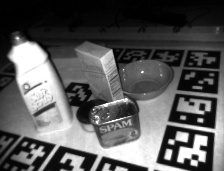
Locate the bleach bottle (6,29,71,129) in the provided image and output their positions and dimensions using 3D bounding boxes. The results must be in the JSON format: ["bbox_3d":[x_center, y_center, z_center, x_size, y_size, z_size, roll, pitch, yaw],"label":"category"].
[{"bbox_3d":[-0.178,-0.008,0.505,0.102,0.253,0.067,-12,38,4],"label":"bleach bottle"}]

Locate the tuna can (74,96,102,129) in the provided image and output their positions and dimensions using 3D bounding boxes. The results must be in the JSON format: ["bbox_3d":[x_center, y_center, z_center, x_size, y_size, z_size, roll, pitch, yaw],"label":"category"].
[{"bbox_3d":[-0.058,0.067,0.549,0.085,0.034,0.085,-9,41,9],"label":"tuna can"}]

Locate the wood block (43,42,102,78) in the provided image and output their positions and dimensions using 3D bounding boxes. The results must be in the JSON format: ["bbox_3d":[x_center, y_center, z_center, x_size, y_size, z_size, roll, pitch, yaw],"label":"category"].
[{"bbox_3d":[-0.132,-0.087,0.723,0.205,0.090,0.091,0,45,15],"label":"wood block"}]

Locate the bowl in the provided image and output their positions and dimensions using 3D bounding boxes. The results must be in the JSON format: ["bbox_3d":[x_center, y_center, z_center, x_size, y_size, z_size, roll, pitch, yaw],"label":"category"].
[{"bbox_3d":[0.088,-0.020,0.601,0.161,0.056,0.161,-11,37,9],"label":"bowl"}]

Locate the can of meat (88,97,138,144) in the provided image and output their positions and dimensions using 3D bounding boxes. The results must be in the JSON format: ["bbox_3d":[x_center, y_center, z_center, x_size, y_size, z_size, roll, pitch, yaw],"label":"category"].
[{"bbox_3d":[0.006,0.078,0.487,0.102,0.084,0.057,-13,35,-1],"label":"can of meat"}]

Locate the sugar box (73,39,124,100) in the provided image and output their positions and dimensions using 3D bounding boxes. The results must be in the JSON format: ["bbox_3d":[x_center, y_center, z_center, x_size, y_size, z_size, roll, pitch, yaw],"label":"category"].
[{"bbox_3d":[-0.028,-0.024,0.537,0.091,0.178,0.045,22,53,41],"label":"sugar box"}]
